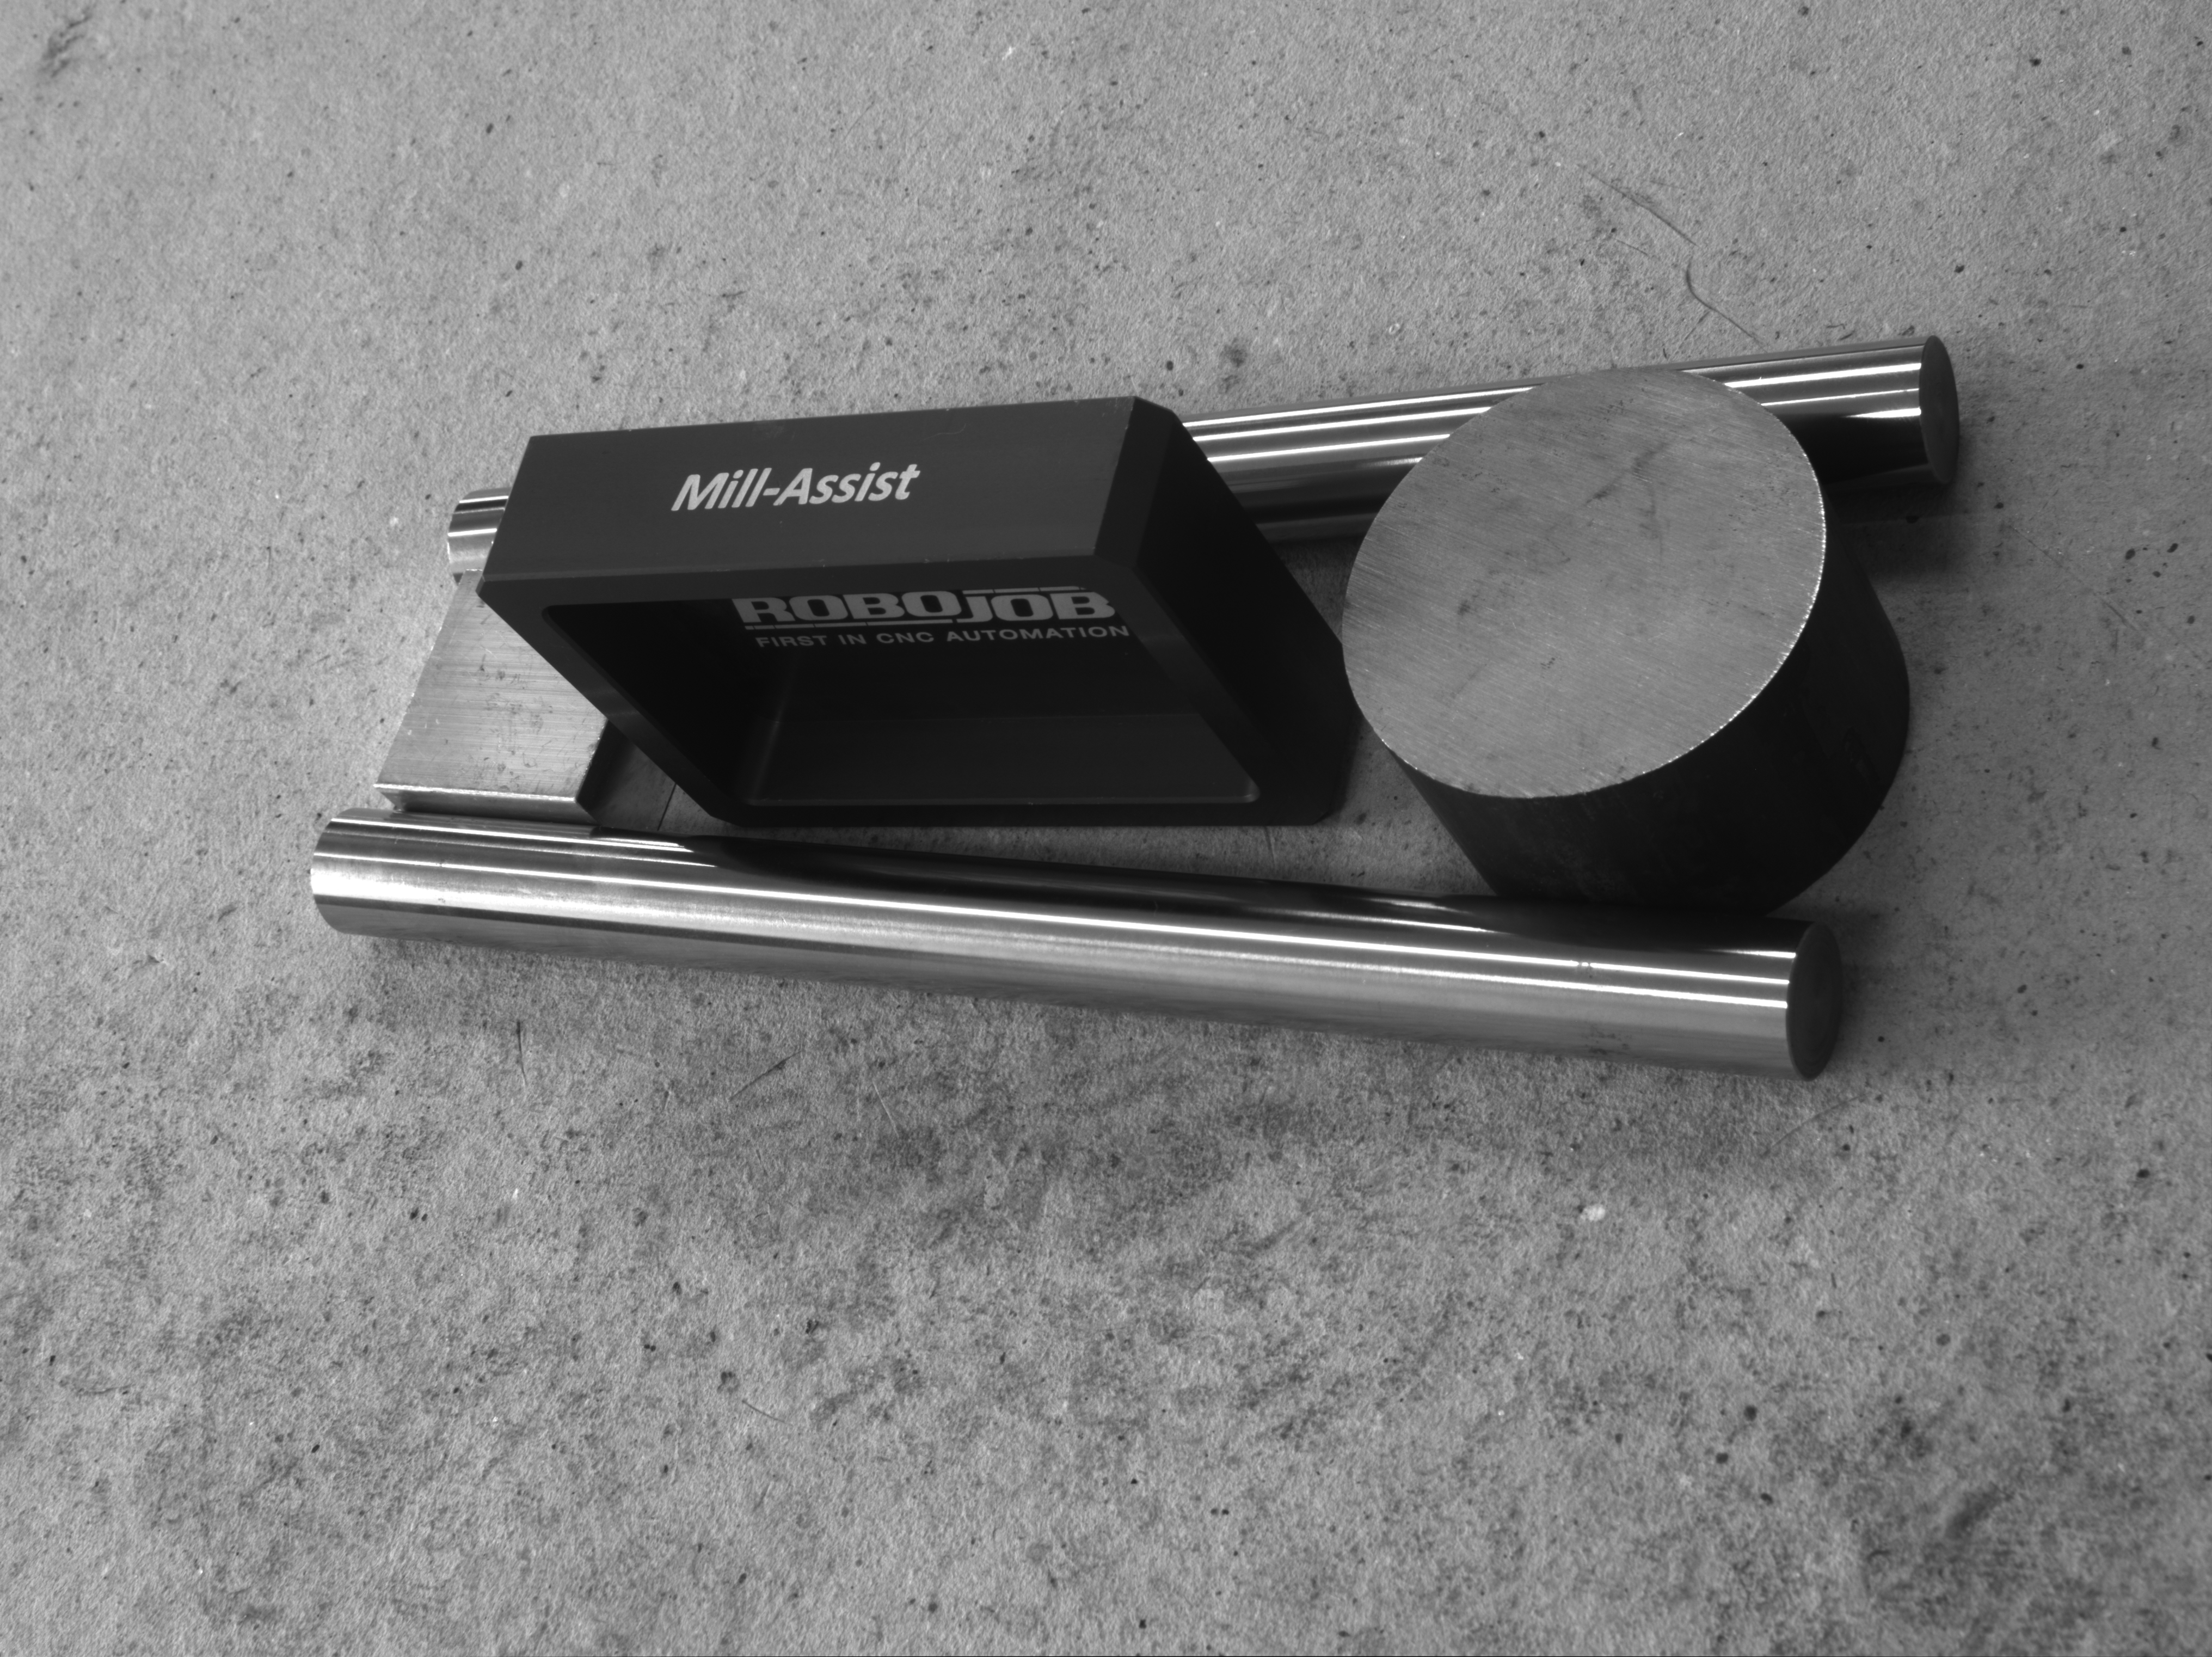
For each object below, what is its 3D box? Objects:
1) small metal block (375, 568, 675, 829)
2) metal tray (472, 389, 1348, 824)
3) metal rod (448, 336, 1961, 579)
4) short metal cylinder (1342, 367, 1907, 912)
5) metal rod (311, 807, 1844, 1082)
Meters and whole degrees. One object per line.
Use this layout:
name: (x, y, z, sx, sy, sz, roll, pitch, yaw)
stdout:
small metal block: (-0.108, -0.022, 0.719, 0.050, 0.025, 0.050, 4, 64, 30)
metal tray: (-0.033, -0.035, 0.642, 0.130, 0.090, 0.030, 0, 61, 29)
metal rod: (0.007, -0.063, 0.682, 0.299, 0.025, 0.025, -3, 60, 27)
short metal cylinder: (0.085, -0.028, 0.600, 0.080, 0.050, 0.080, -14, 56, 21)
metal rod: (-0.019, 0.018, 0.645, 0.299, 0.025, 0.025, 4, 64, 30)
